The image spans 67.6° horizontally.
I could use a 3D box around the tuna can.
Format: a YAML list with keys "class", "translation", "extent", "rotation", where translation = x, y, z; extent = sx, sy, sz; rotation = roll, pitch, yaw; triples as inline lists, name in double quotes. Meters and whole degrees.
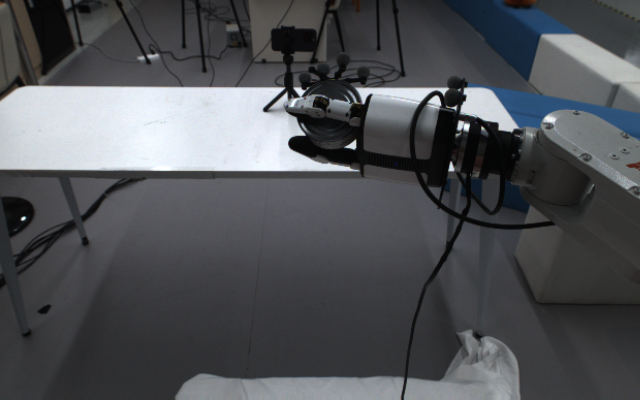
- class: "tuna can"
  translation: [0.014, -0.111, 0.625]
  extent: [0.085, 0.034, 0.085]
  rotation: [-5, 70, 14]
